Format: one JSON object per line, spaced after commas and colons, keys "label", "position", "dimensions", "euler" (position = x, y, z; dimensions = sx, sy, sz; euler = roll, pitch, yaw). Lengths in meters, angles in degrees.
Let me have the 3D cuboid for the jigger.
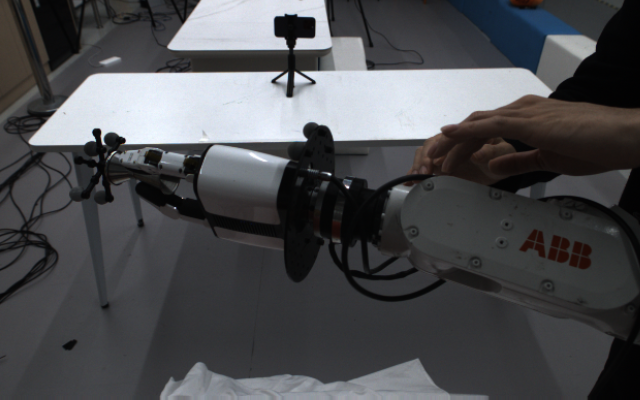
{"label": "jigger", "position": [-0.190, -0.034, 0.536], "dimensions": [0.071, 0.043, 0.043], "euler": [7, 35, 13]}
